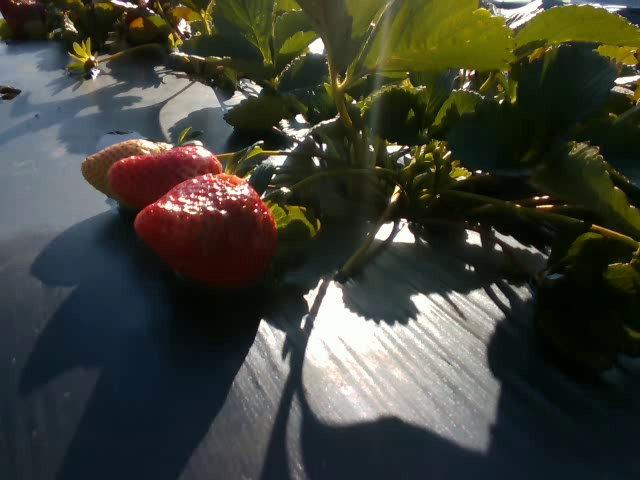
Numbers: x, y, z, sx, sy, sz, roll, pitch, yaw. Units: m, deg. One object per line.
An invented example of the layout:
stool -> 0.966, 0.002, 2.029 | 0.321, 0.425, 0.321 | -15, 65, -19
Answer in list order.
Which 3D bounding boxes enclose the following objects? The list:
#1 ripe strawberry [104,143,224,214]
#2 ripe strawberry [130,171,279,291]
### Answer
ripe strawberry -> -0.067, -0.026, 0.262 | 0.061, 0.051, 0.044 | 8, -46, -16
ripe strawberry -> -0.045, -0.004, 0.218 | 0.056, 0.052, 0.067 | -12, -7, 27
